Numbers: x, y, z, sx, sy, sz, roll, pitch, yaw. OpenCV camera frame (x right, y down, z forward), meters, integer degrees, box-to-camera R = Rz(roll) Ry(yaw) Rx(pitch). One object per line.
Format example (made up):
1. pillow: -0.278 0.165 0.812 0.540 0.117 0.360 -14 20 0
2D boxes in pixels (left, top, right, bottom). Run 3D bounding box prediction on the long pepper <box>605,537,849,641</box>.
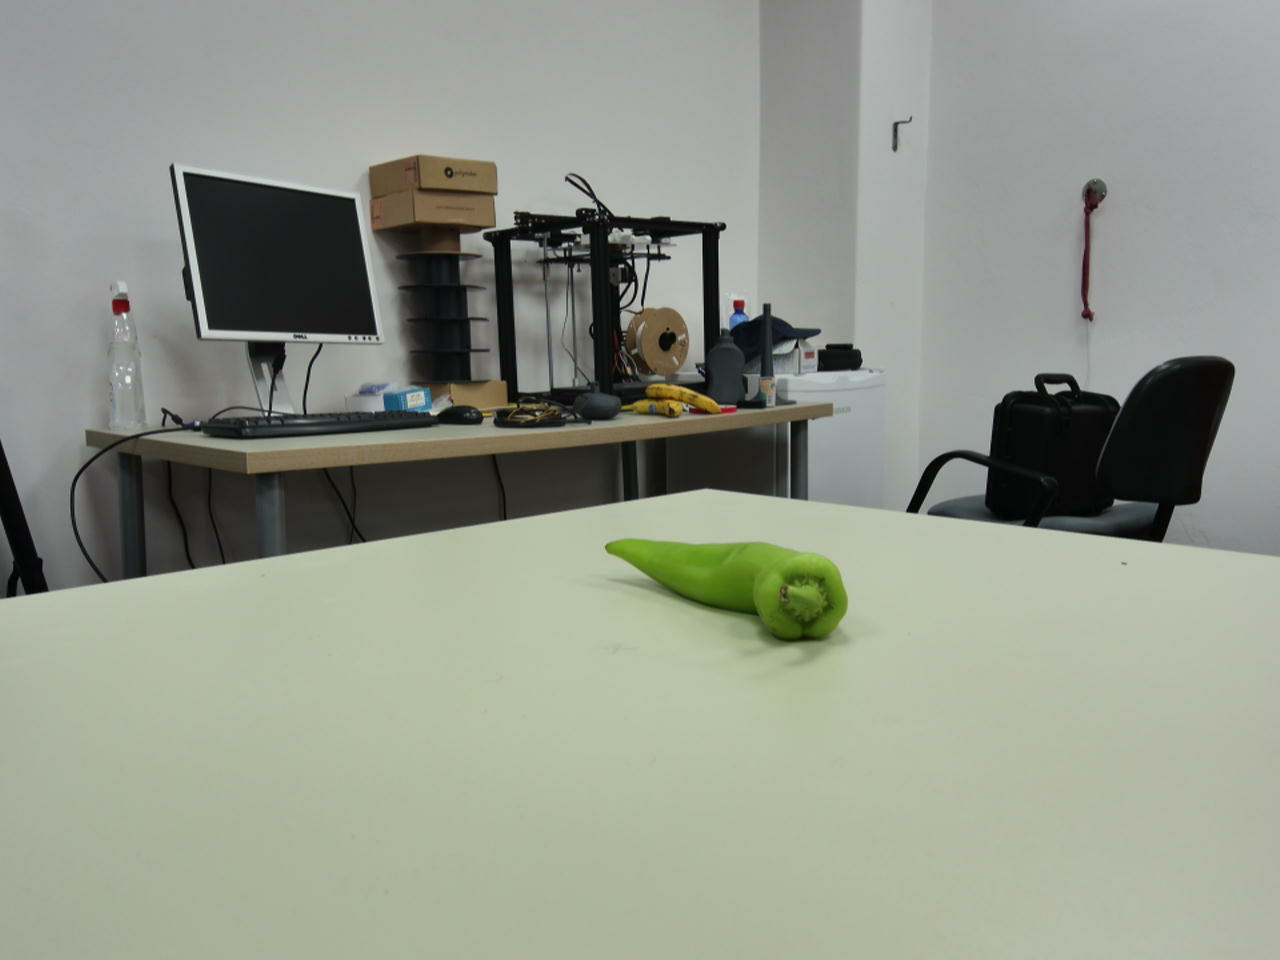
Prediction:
1. long pepper: 0.052 0.054 0.576 0.065 0.045 0.205 -2 6 -26
